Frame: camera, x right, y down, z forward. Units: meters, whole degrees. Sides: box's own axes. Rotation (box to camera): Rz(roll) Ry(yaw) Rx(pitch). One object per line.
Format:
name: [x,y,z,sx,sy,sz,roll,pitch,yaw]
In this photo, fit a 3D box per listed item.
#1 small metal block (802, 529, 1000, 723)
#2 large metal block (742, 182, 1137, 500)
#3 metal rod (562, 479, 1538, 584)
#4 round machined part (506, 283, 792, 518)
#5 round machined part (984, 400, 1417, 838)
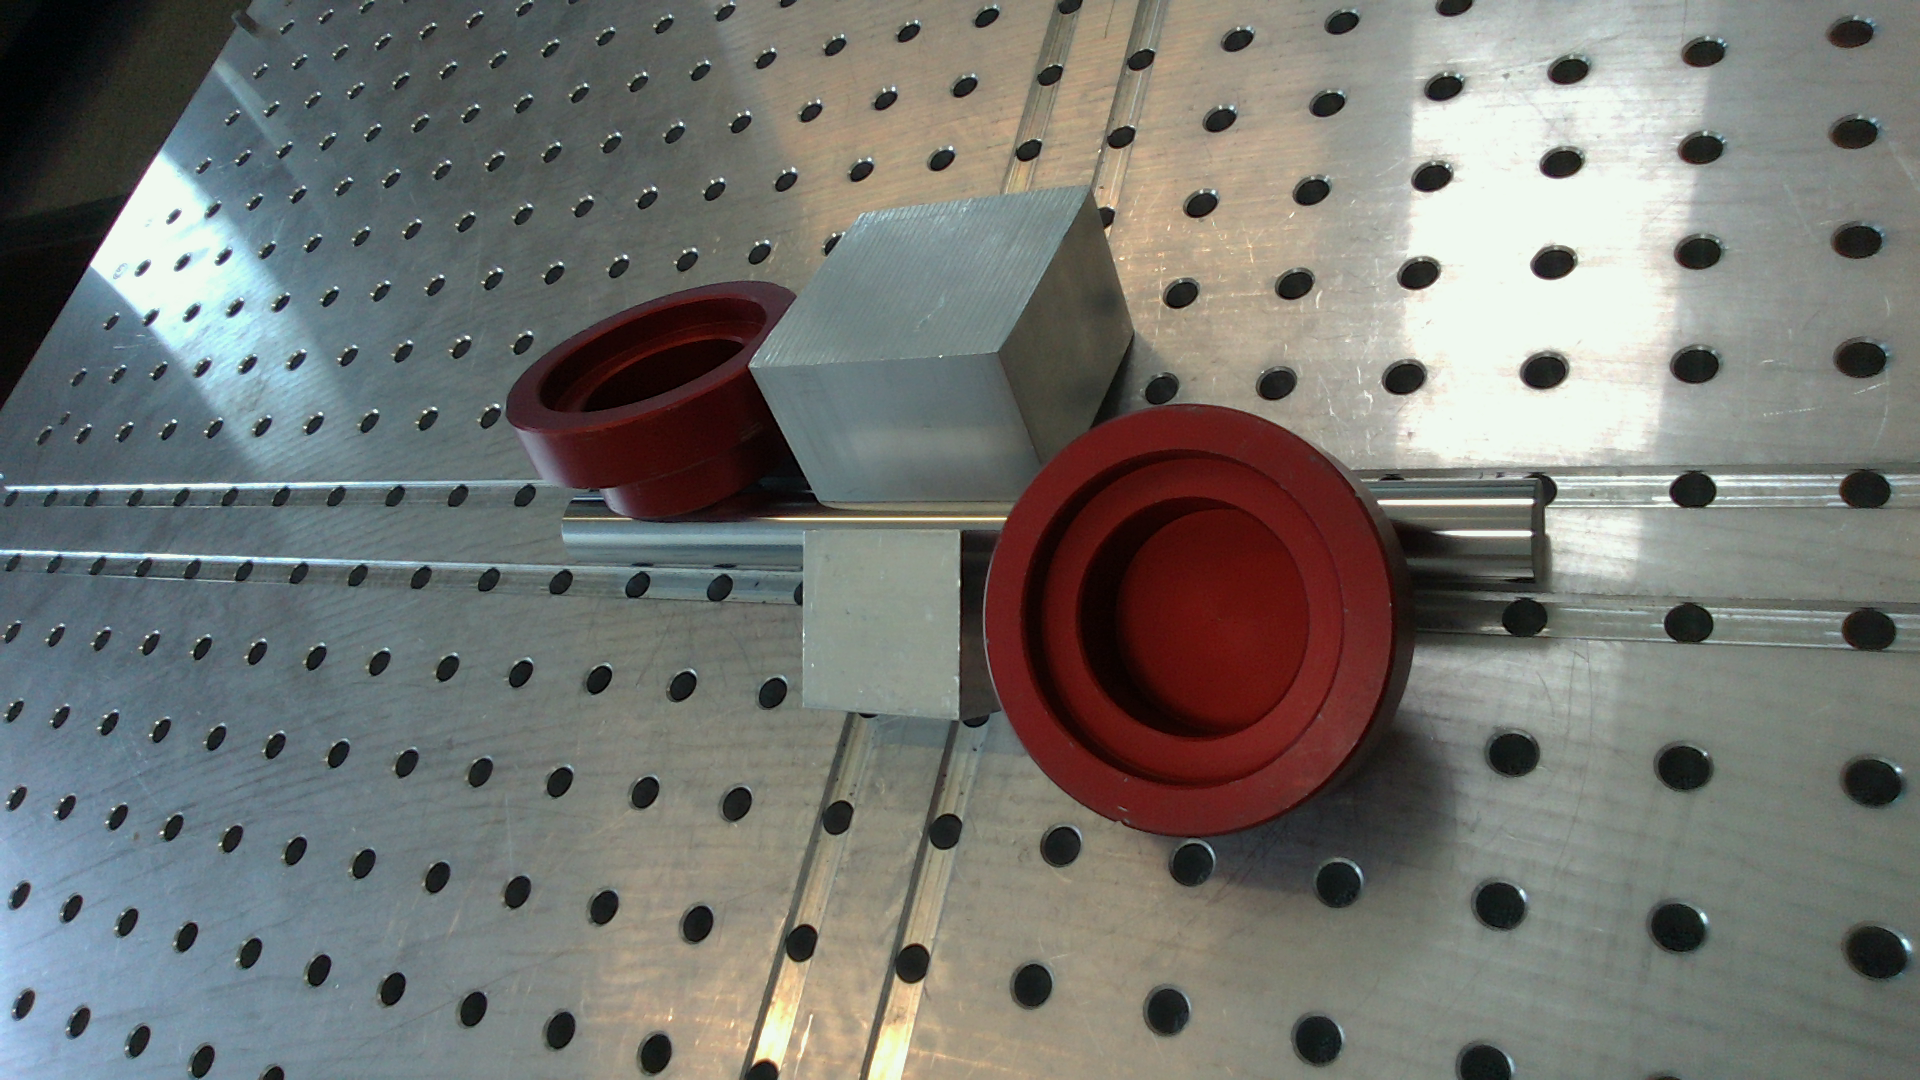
small metal block: [-0.016,0.022,0.379,0.050,0.025,0.050,1,91,29]
large metal block: [-0.003,-0.057,0.403,0.080,0.050,0.080,1,44,29]
metal rod: [0.005,-0.003,0.397,0.299,0.025,0.025,0,62,29]
round machined part: [-0.092,-0.043,0.446,0.098,0.042,0.098,-14,31,9]
round machined part: [0.058,0.018,0.327,0.098,0.042,0.098,-2,86,29]
